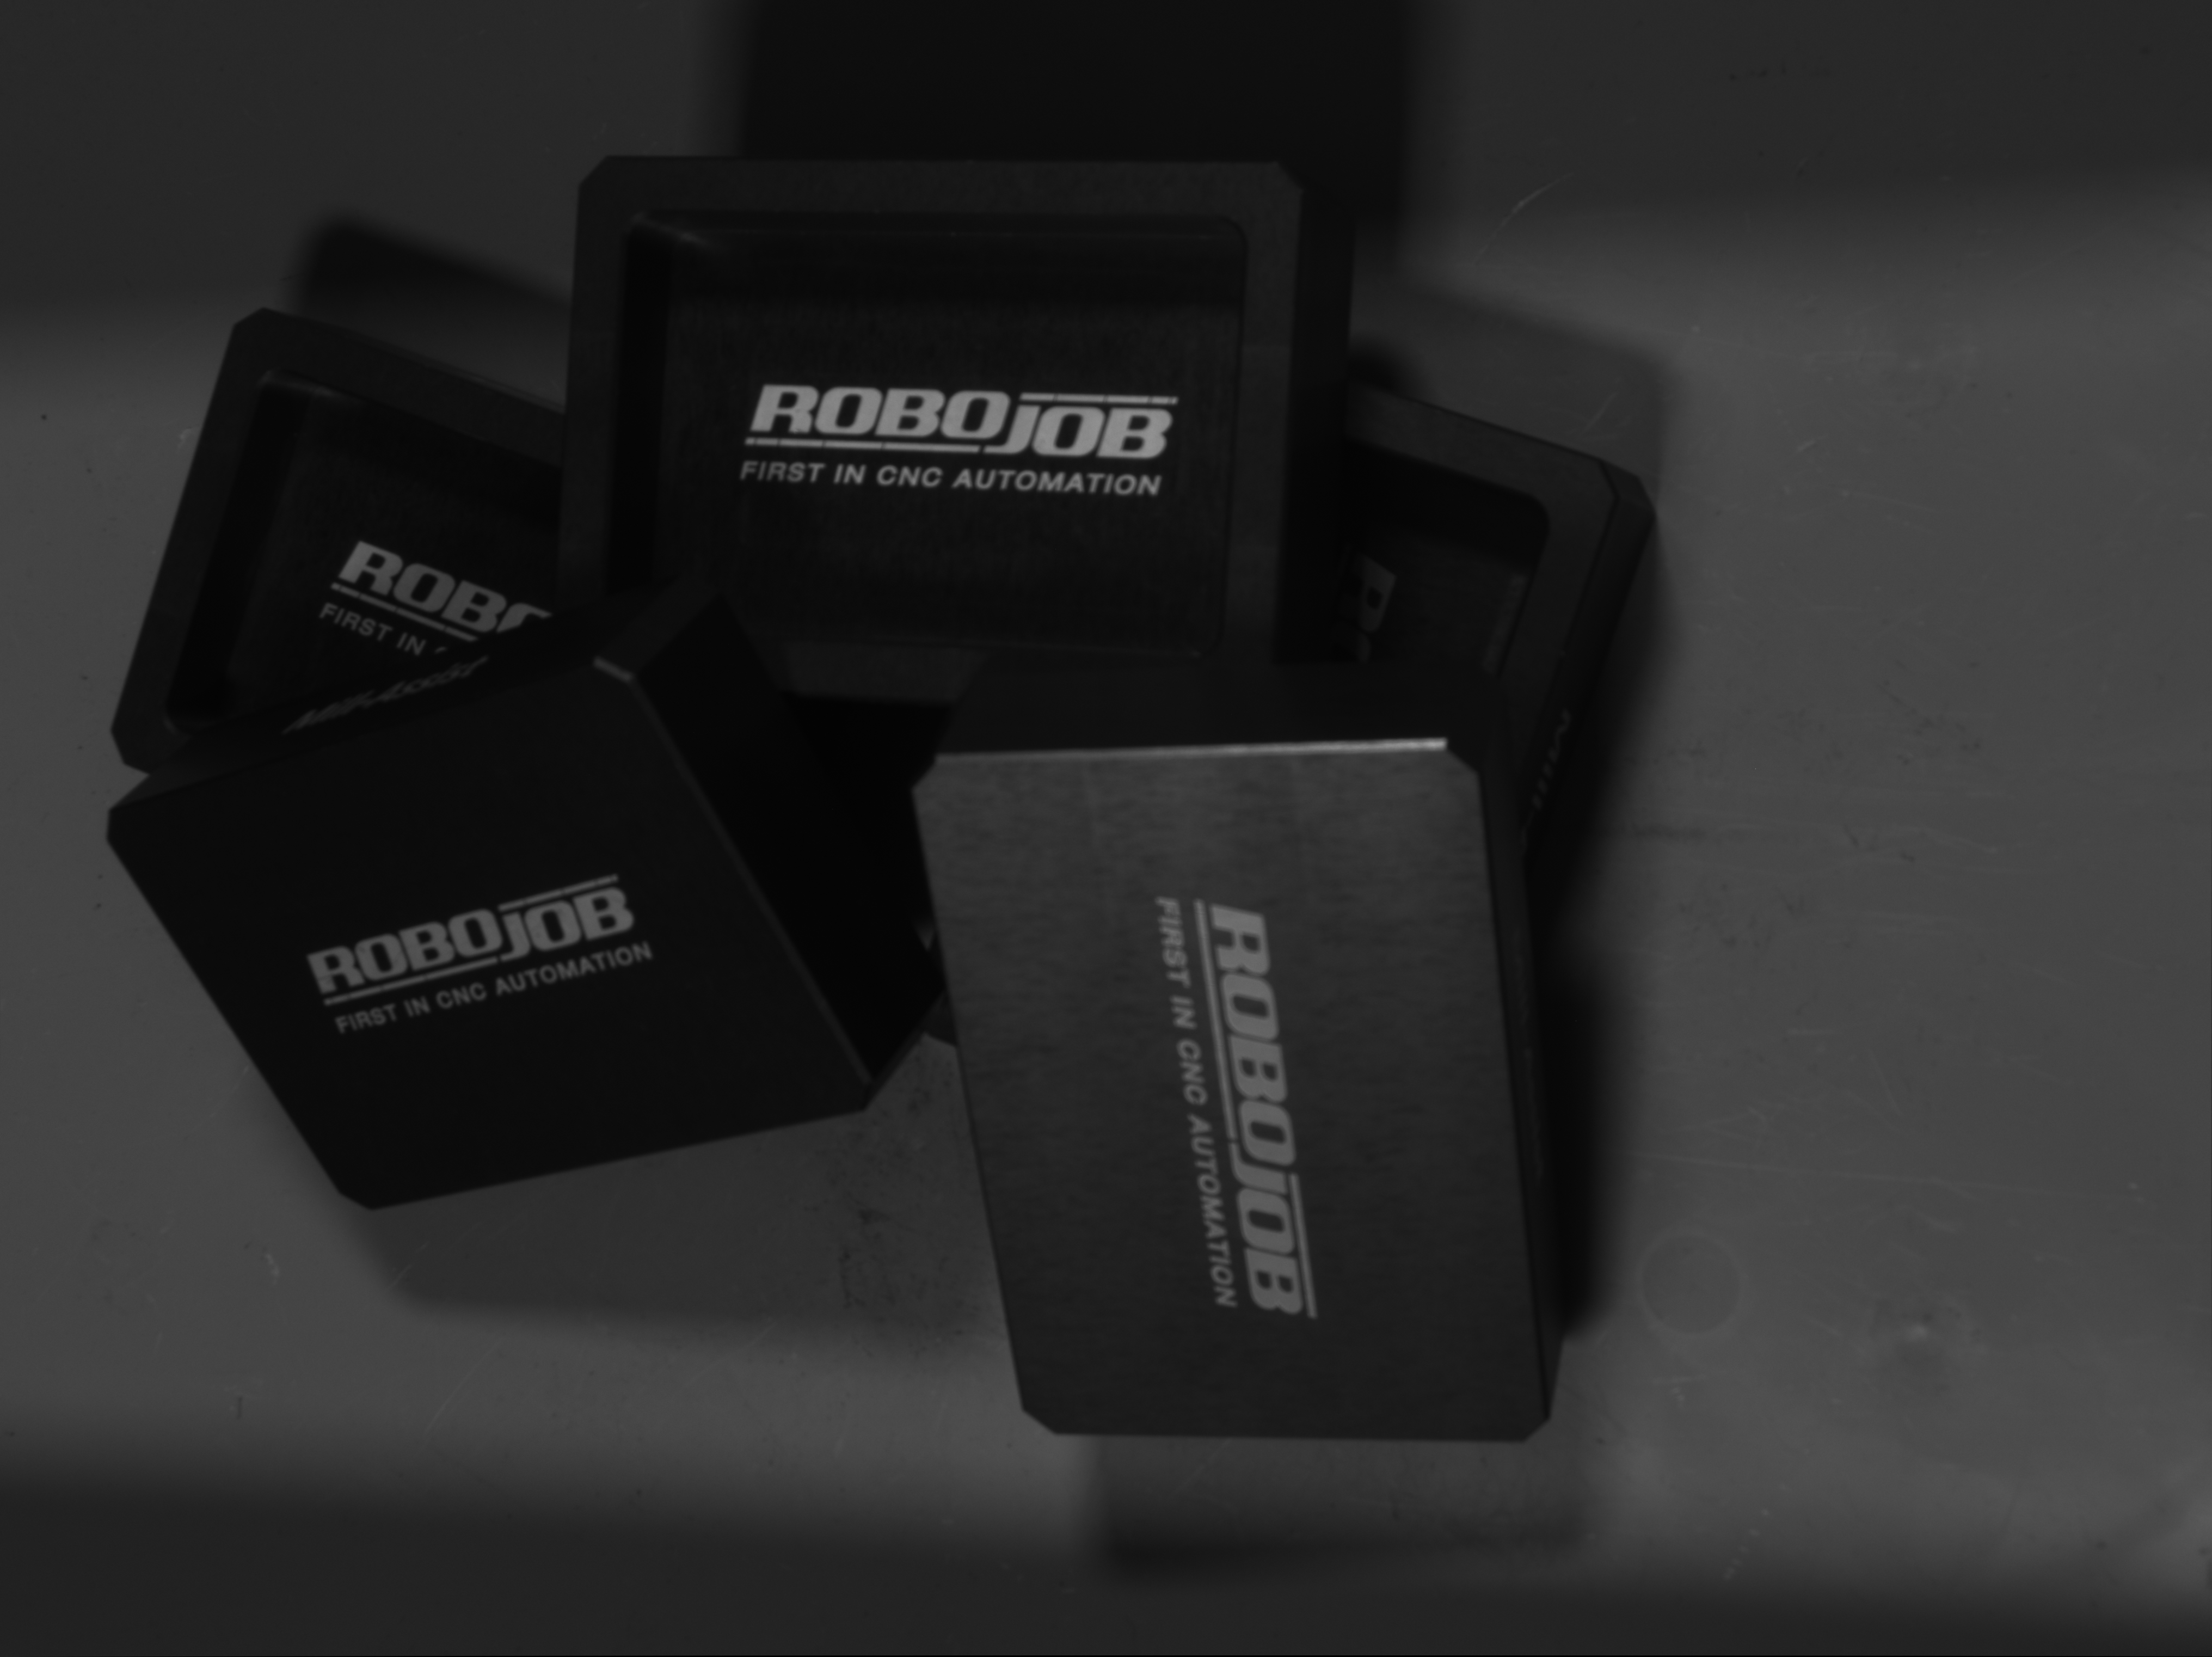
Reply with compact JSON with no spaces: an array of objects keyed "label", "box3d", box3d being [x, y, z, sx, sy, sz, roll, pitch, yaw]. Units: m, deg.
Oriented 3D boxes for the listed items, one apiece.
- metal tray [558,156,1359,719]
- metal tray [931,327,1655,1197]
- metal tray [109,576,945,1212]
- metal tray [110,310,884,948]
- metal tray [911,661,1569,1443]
[{"label":"metal tray","box3d":[-0.026,-0.066,0.618,0.130,0.030,0.090,4,91,20]},{"label":"metal tray","box3d":[0.030,-0.012,0.629,0.090,0.030,0.130,20,97,19]},{"label":"metal tray","box3d":[-0.103,0.015,0.641,0.130,0.030,0.090,-14,115,35]},{"label":"metal tray","box3d":[-0.113,-0.034,0.679,0.130,0.030,0.090,21,97,18]},{"label":"metal tray","box3d":[0.024,0.039,0.597,0.090,0.030,0.130,-1,118,14]}]
